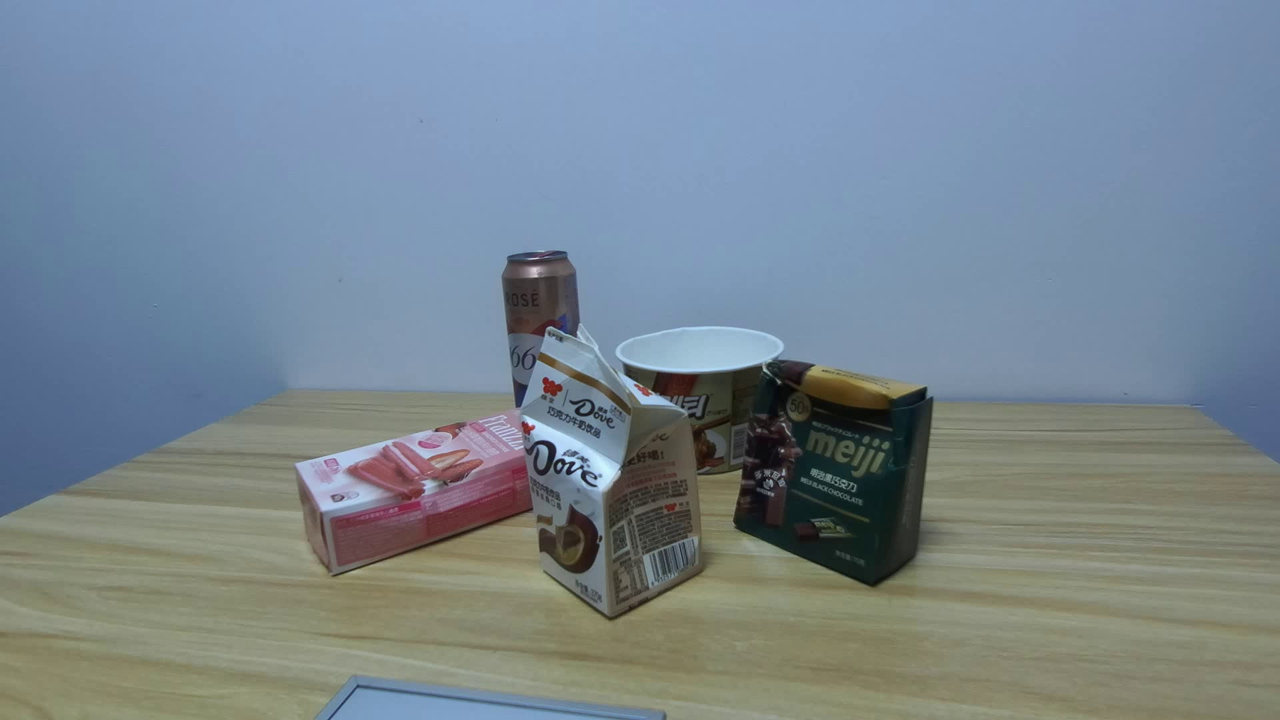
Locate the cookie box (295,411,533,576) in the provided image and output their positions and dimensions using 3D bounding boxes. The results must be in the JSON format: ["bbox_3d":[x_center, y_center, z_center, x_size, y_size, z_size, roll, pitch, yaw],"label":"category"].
[{"bbox_3d":[-0.147,0.090,0.524,0.188,0.049,0.104,-13,18,-32],"label":"cookie box"}]

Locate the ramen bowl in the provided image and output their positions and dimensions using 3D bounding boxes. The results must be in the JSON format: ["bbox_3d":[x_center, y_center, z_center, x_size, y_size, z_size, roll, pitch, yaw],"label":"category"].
[{"bbox_3d":[0.053,0.032,0.598,0.140,0.095,0.140,-4,16,1],"label":"ramen bowl"}]

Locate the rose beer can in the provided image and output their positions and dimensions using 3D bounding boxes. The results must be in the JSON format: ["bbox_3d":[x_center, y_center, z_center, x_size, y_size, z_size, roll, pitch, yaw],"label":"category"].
[{"bbox_3d":[-0.087,-0.011,0.654,0.068,0.169,0.068,-3,14,1],"label":"rose beer can"}]

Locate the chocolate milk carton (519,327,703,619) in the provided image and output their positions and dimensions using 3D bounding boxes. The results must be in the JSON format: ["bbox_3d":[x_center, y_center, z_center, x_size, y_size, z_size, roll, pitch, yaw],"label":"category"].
[{"bbox_3d":[-0.018,0.057,0.411,0.074,0.155,0.076,-18,23,-35],"label":"chocolate milk carton"}]

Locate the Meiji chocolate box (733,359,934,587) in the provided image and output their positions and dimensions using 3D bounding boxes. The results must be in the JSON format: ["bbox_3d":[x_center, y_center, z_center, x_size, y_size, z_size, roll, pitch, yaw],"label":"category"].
[{"bbox_3d":[0.119,0.063,0.441,0.052,0.117,0.116,-7,15,-42],"label":"Meiji chocolate box"}]
